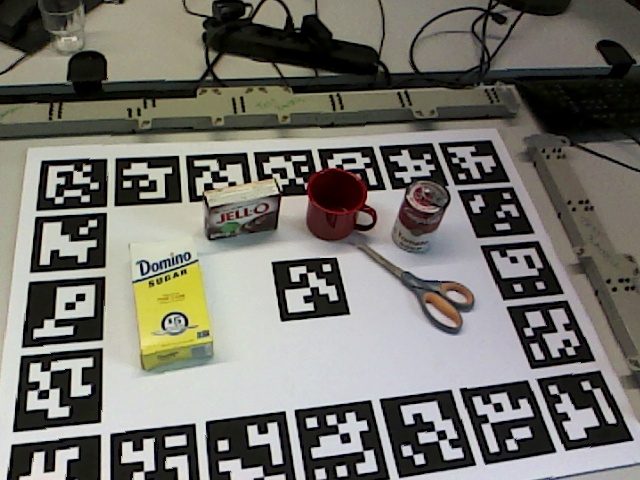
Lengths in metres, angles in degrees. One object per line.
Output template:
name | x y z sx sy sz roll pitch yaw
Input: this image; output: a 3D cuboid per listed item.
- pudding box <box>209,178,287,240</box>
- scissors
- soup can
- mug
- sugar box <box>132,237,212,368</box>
pudding box | -0.111 -0.047 0.938 0.113 0.090 0.039 -13 65 -16
scissors | 0.144 0.066 0.940 0.203 0.016 0.087 36 68 15
soup can | 0.154 -0.034 0.970 0.068 0.102 0.068 3 54 -5
mug | 0.034 -0.056 0.972 0.118 0.081 0.093 40 62 20
sugar box | -0.210 0.083 0.870 0.092 0.045 0.177 -8 58 -11
